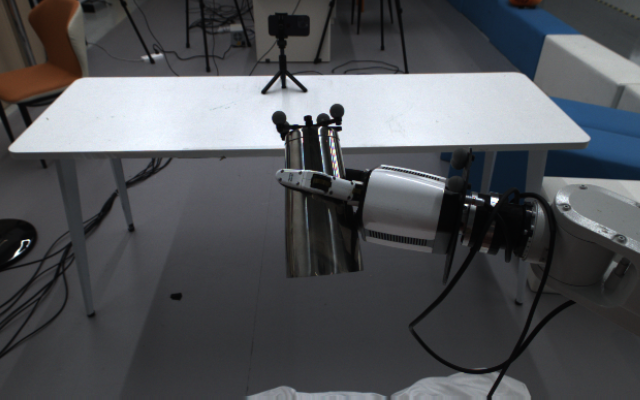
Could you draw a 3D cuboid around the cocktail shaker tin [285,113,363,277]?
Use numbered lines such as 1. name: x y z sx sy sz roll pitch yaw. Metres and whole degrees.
1. cocktail shaker tin: -0.002 0.004 0.580 0.093 0.170 0.093 -6 -7 -1
